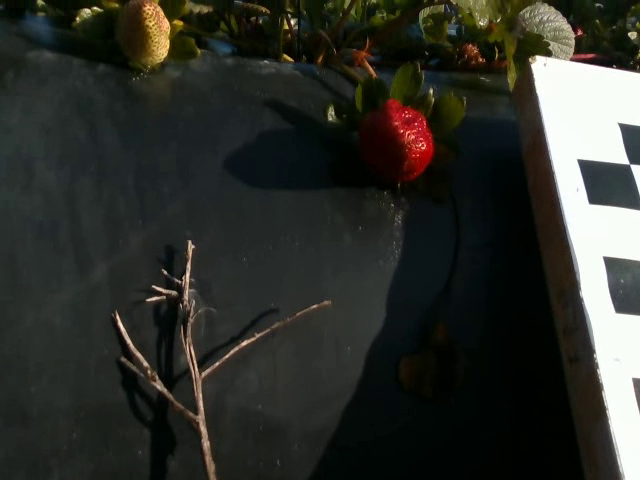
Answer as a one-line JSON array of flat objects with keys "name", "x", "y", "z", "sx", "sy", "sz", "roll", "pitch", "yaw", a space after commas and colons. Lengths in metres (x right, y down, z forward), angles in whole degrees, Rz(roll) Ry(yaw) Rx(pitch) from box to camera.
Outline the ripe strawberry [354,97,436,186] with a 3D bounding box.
[{"name": "ripe strawberry", "x": 0.012, "y": -0.016, "z": 0.090, "sx": 0.015, "sy": 0.015, "sz": 0.022, "roll": 14, "pitch": 8, "yaw": -4}]
